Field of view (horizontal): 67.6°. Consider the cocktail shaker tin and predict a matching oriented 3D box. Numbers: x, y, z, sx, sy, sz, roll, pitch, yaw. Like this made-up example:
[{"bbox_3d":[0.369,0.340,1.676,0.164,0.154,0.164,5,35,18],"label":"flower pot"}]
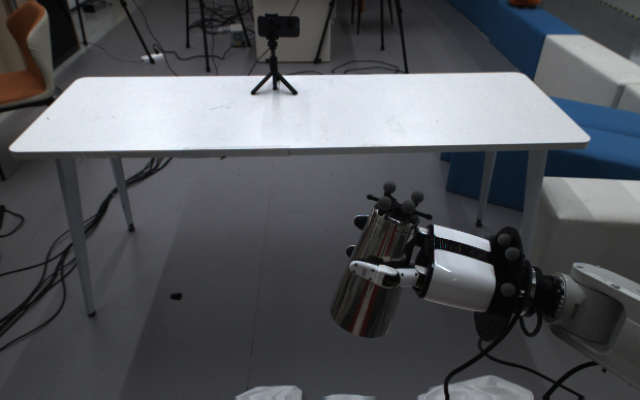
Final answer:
[{"bbox_3d":[0.081,0.092,0.668,0.093,0.170,0.093,14,22,-6],"label":"cocktail shaker tin"}]
